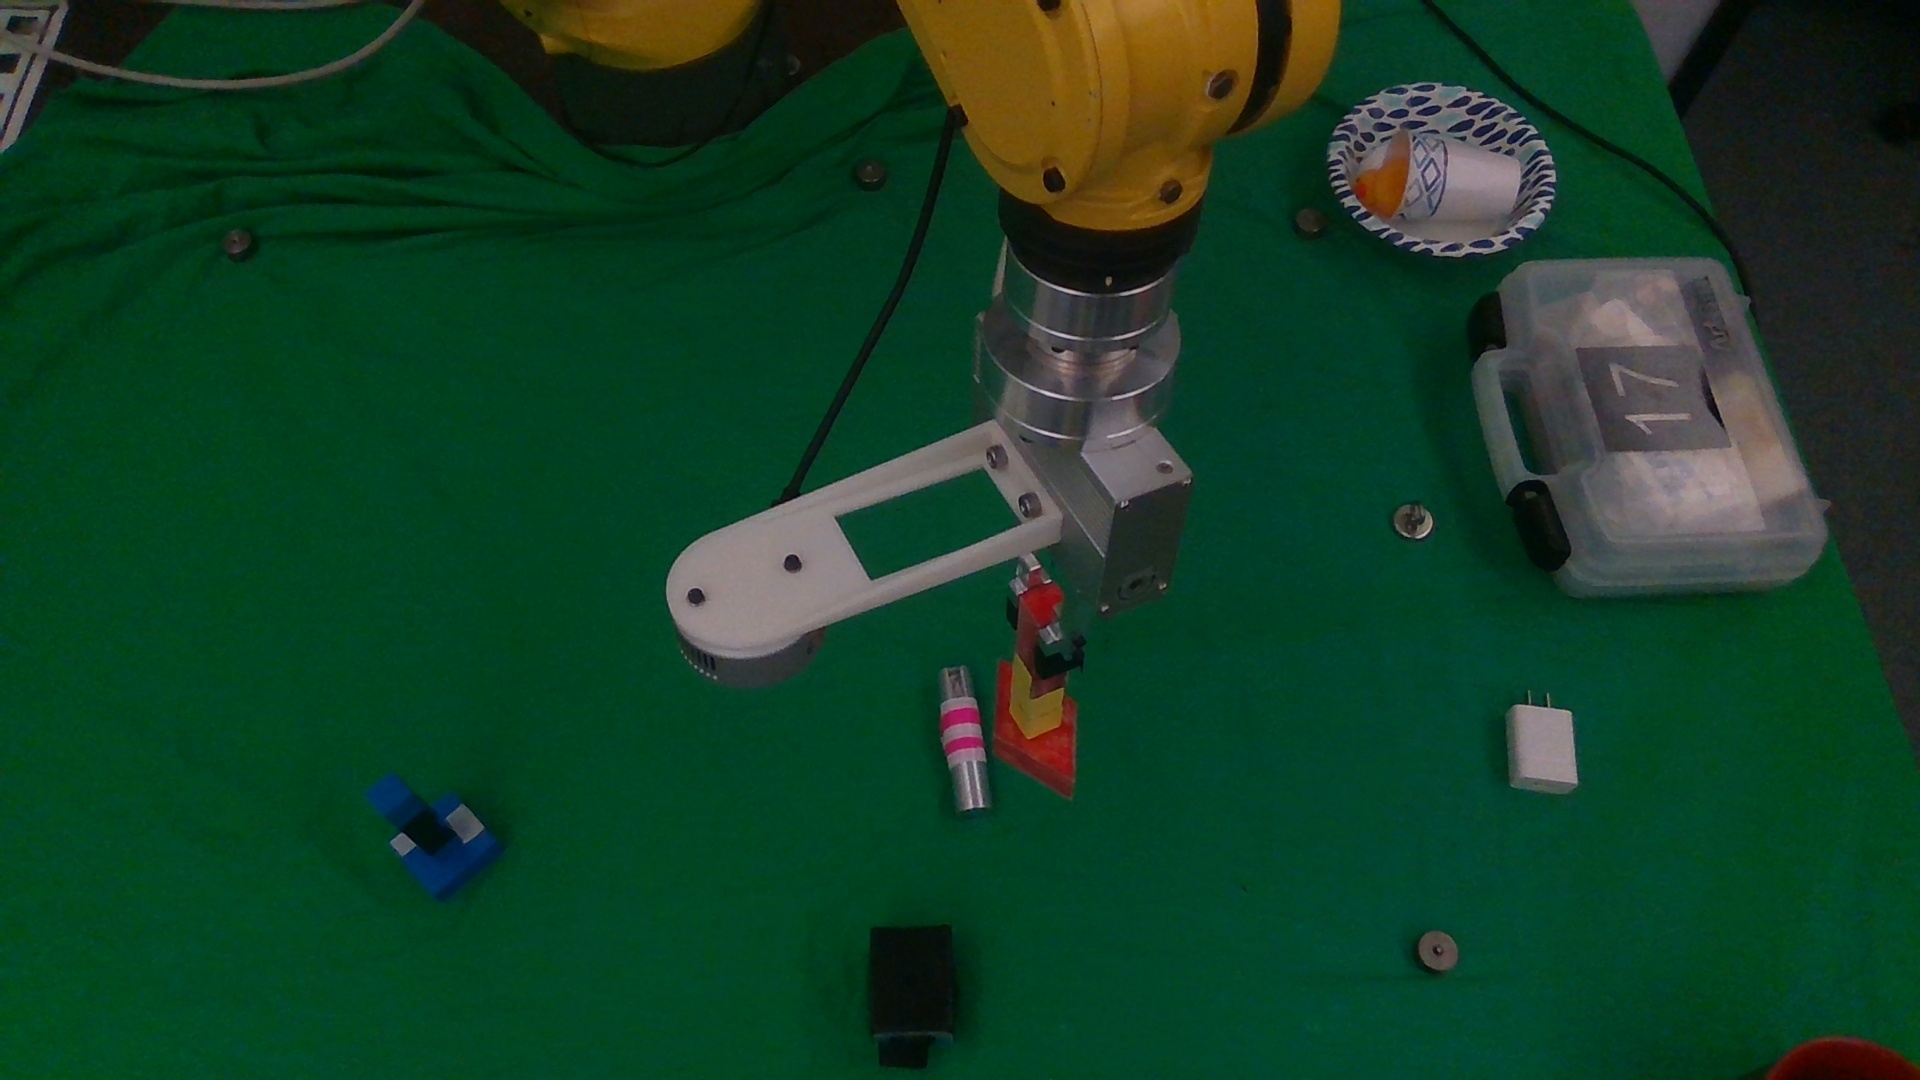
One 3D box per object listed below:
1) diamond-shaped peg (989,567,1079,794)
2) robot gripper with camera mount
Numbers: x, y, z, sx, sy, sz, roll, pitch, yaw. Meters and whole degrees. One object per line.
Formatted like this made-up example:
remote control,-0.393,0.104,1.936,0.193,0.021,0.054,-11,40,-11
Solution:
diamond-shaped peg,0.041,0.062,0.692,0.074,0.122,0.045,31,54,22
robot gripper with camera mount,-0.024,0.024,0.586,0.193,0.158,0.119,-25,54,-18
